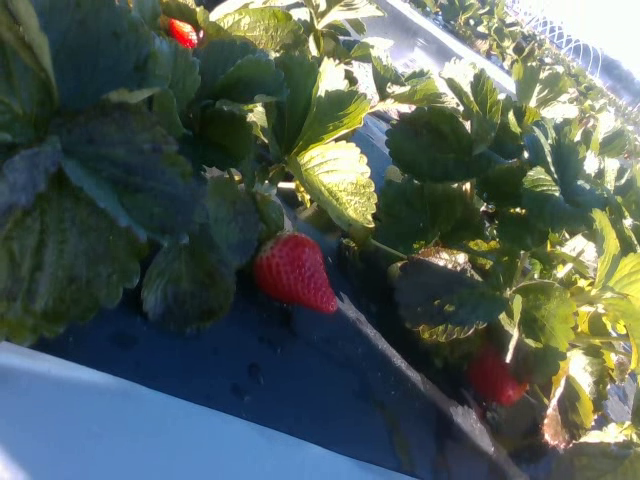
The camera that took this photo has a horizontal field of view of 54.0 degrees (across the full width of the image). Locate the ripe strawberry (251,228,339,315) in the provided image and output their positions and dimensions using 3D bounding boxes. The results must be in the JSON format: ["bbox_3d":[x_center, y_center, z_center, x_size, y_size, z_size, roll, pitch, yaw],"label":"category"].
[{"bbox_3d":[-0.010,0.019,0.319,0.045,0.059,0.042,-33,-11,-22],"label":"ripe strawberry"}]
